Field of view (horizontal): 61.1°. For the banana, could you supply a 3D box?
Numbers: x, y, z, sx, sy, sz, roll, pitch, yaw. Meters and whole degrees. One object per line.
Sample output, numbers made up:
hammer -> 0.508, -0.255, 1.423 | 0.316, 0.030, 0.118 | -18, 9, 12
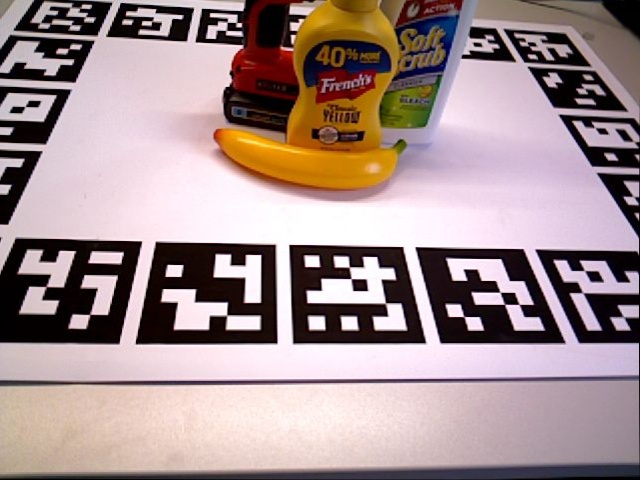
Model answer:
banana -> -0.006, -0.078, 0.528 | 0.196, 0.040, 0.073 | 5, 49, 0

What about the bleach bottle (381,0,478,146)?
bleach bottle -> 0.092, -0.214, 0.511 | 0.102, 0.257, 0.066 | 5, 42, -4

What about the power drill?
power drill -> -0.018, -0.226, 0.512 | 0.184, 0.191, 0.056 | 12, 46, 2

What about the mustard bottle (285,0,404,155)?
mustard bottle -> 0.023, -0.158, 0.484 | 0.095, 0.196, 0.057 | 3, 48, -6
